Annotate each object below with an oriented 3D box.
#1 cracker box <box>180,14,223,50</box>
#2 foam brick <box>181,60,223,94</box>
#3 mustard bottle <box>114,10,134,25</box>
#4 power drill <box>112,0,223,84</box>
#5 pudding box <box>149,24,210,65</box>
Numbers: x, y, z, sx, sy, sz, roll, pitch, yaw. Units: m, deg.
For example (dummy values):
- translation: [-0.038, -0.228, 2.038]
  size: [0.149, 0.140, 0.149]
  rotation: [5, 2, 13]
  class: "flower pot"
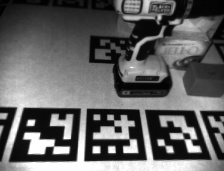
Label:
- translation: [0.150, -0.159, 0.457]
  size: [0.165, 0.214, 0.071]
  rotation: [-2, 51, -5]
  class: "cracker box"
- translation: [0.197, -0.016, 0.463]
  size: [0.078, 0.051, 0.052]
  rotation: [3, 54, -5]
  class: "foam brick"
- translation: [0.060, -0.238, 0.513]
  size: [0.096, 0.192, 0.058]
  rotation: [11, 53, 3]
  class: "mustard bottle"
- translation: [0.086, -0.083, 0.370]
  size: [0.185, 0.187, 0.057]
  rotation: [0, 49, -8]
  class: "power drill"
- translation: [0.140, -0.088, 0.469]
  size: [0.114, 0.090, 0.038]
  rotation: [0, 51, -4]
  class: "pudding box"
